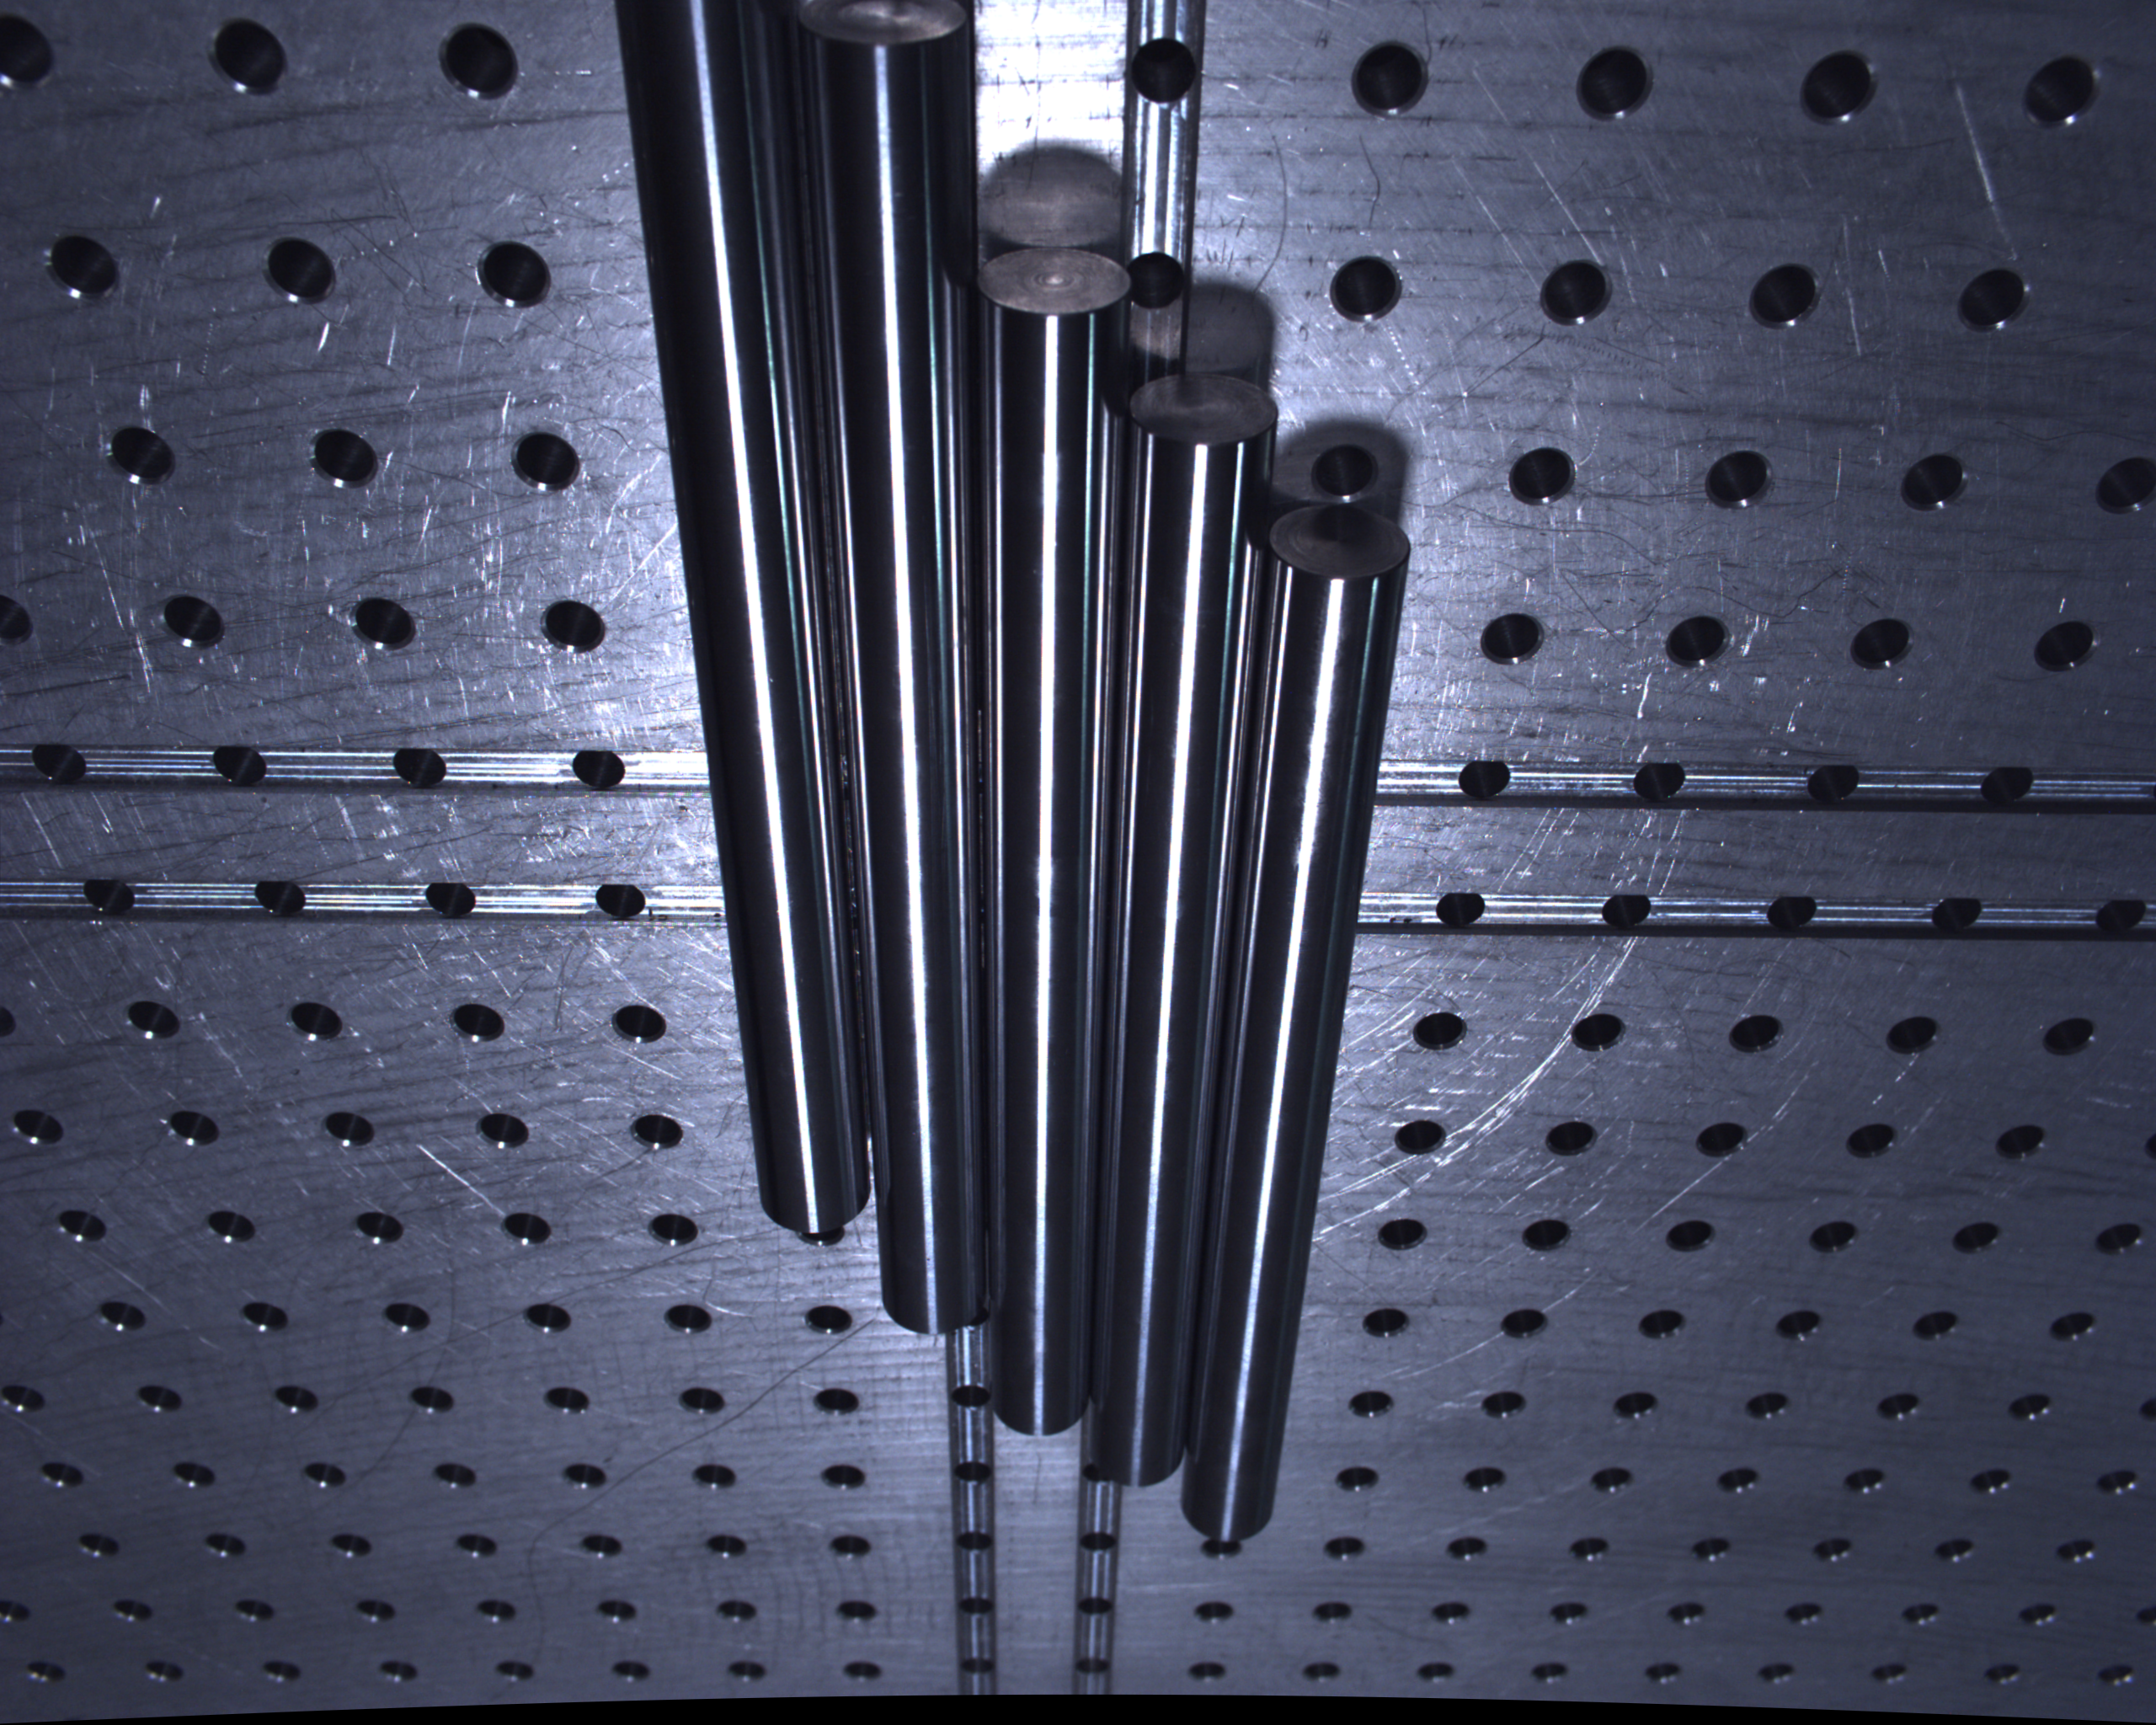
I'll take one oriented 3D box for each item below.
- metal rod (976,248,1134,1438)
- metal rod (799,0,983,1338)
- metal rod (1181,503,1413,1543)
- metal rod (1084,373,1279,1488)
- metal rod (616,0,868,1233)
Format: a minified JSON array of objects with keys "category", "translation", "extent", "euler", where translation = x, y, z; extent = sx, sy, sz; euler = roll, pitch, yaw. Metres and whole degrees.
[{"category":"metal rod","translation":[-0.007,0.021,0.428],"extent":[0.025,0.025,0.298],"euler":[1,130,-1]},{"category":"metal rod","translation":[-0.032,-0.010,0.401],"extent":[0.025,0.025,0.298],"euler":[1,130,-1]},{"category":"metal rod","translation":[0.042,0.057,0.460],"extent":[0.025,0.025,0.298],"euler":[1,130,-1]},{"category":"metal rod","translation":[0.017,0.038,0.443],"extent":[0.025,0.025,0.298],"euler":[1,130,-1]},{"category":"metal rod","translation":[-0.057,-0.039,0.377],"extent":[0.025,0.025,0.298],"euler":[1,130,-1]}]
